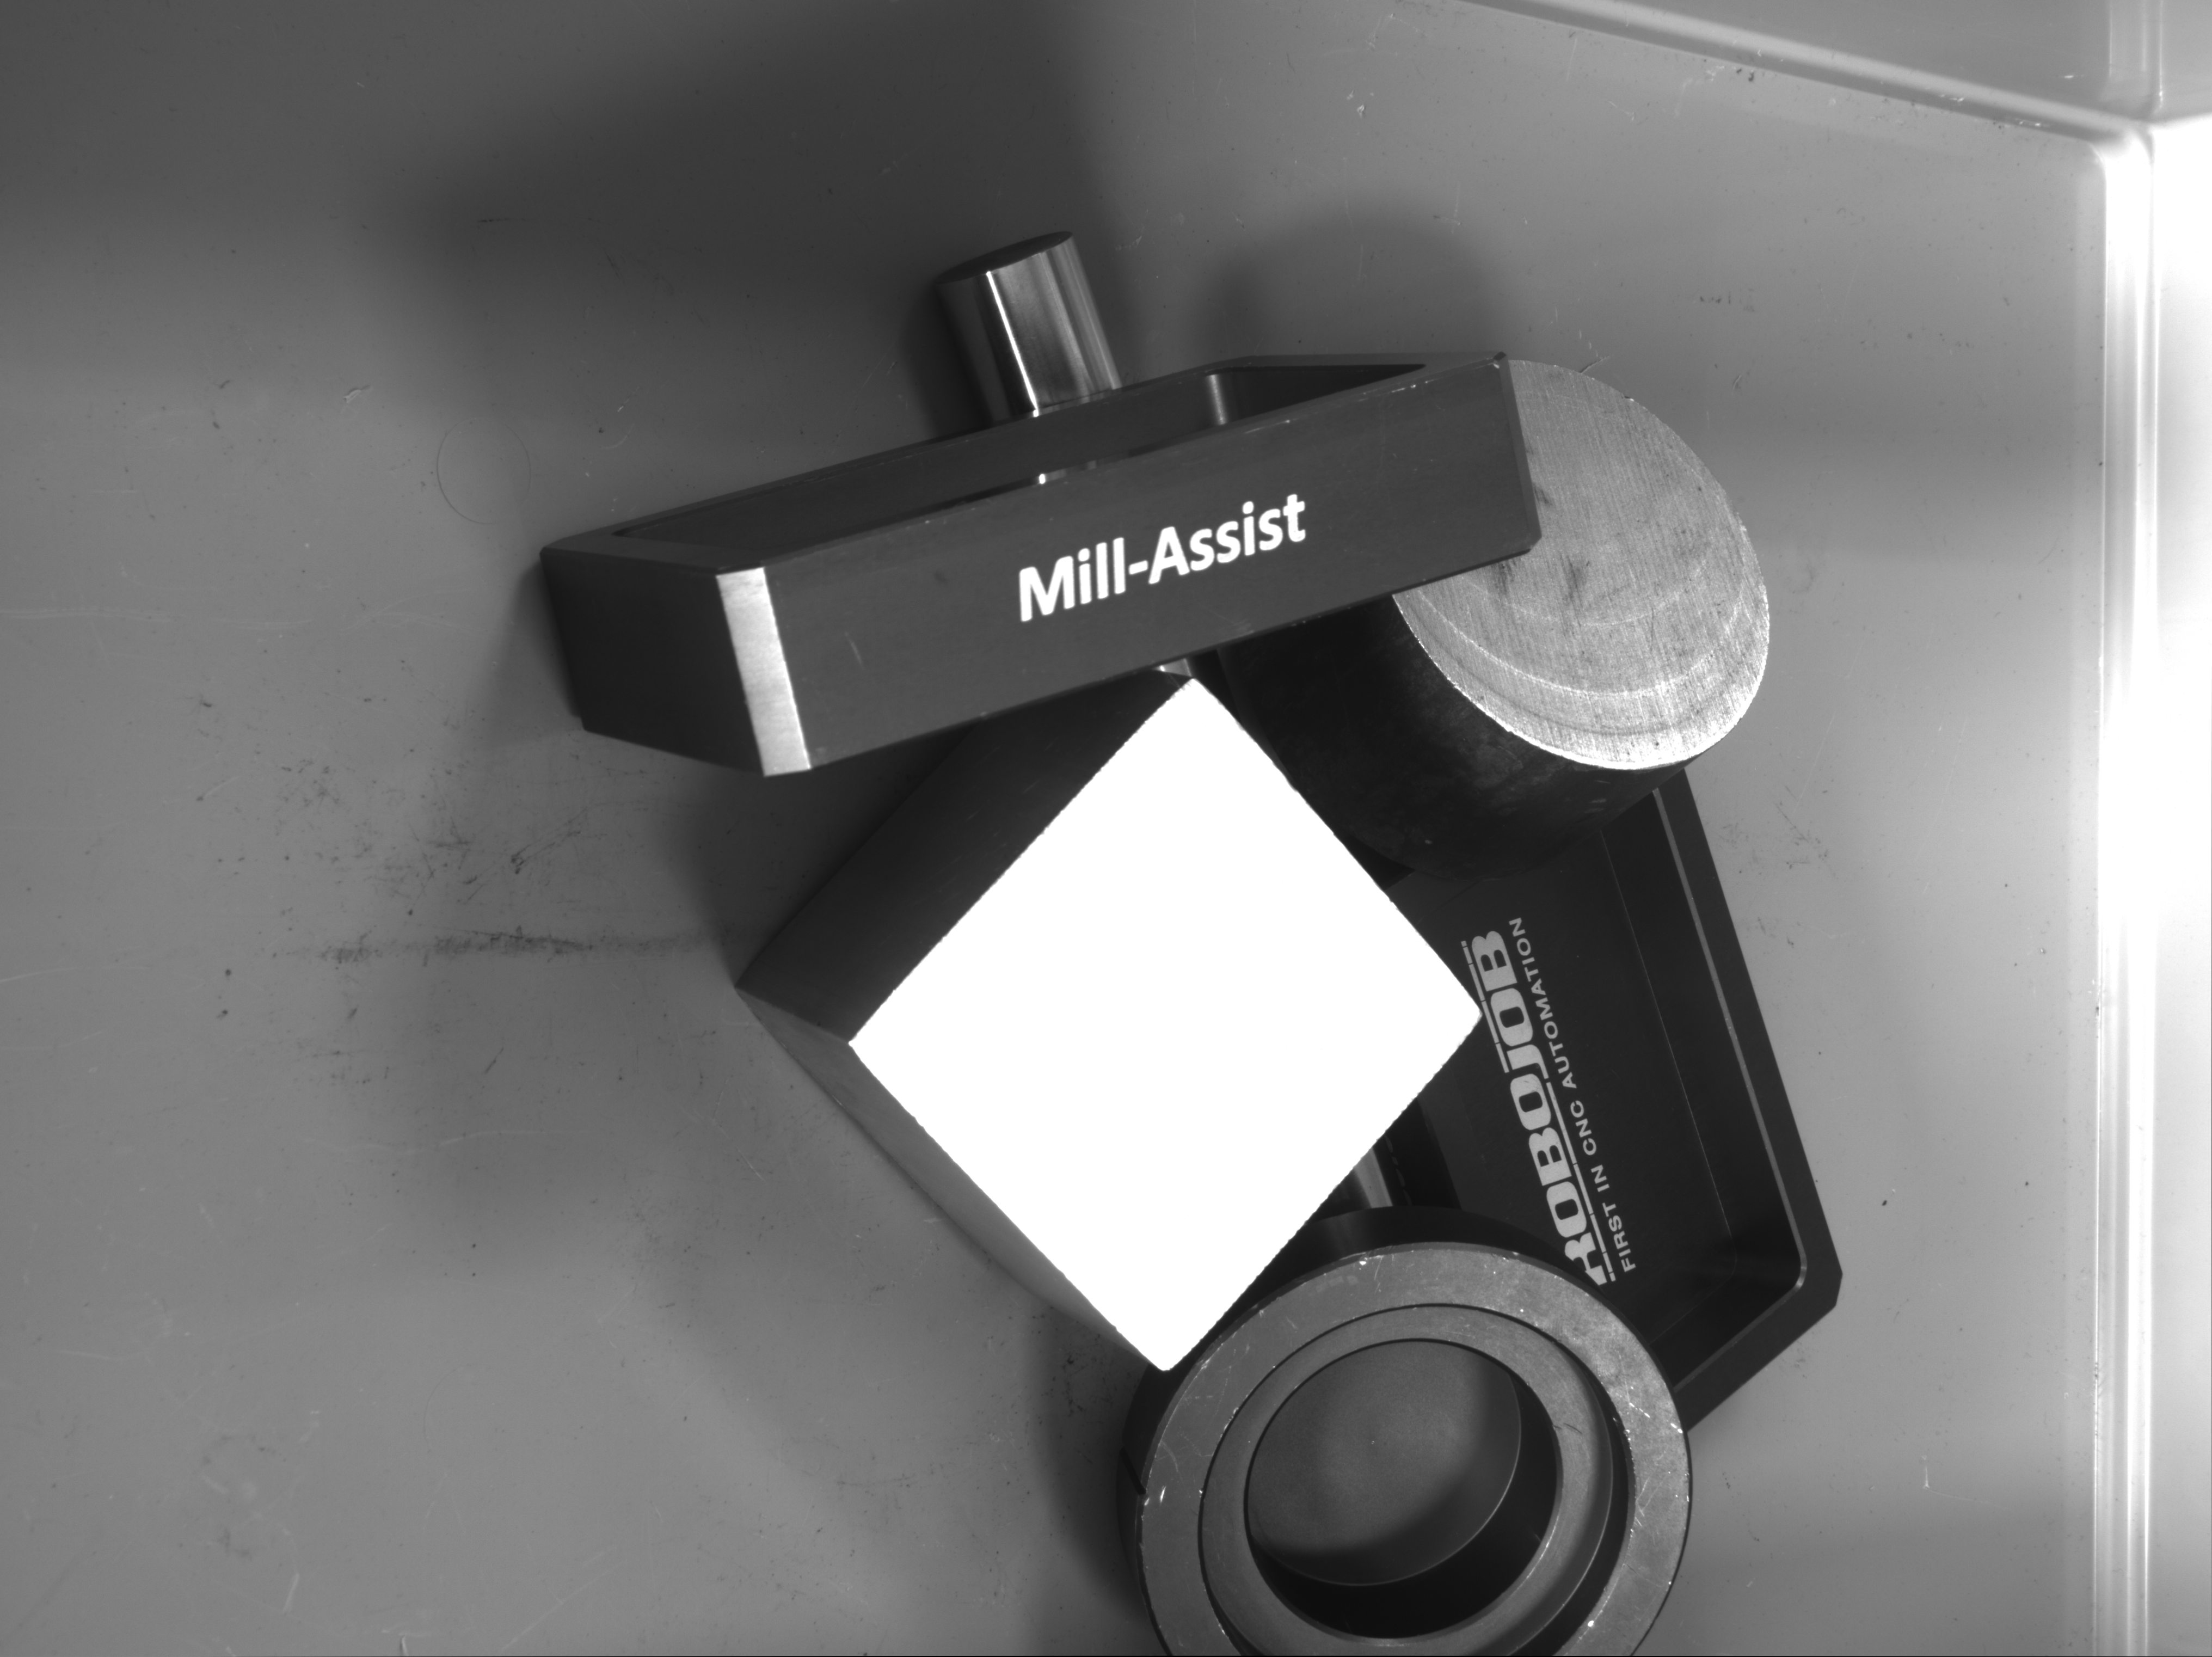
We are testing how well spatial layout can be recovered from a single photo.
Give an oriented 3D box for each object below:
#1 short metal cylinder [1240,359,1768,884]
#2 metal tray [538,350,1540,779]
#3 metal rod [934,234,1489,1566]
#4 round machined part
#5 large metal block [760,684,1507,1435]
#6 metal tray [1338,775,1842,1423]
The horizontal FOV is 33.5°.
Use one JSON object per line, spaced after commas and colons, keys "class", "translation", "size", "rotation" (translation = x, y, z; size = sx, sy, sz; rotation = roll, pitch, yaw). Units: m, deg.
{"class": "short metal cylinder", "translation": [0.071, -0.037, 0.658], "size": [0.080, 0.050, 0.080], "rotation": [12, 61, -22]}
{"class": "metal tray", "translation": [-0.011, -0.043, 0.565], "size": [0.130, 0.090, 0.030], "rotation": [-18, 103, -24]}
{"class": "metal rod", "translation": [0.032, 0.040, 0.660], "size": [0.025, 0.025, 0.300], "rotation": [-31, 109, -35]}
{"class": "round machined part", "translation": [0.050, 0.113, 0.647], "size": [0.098, 0.042, 0.098], "rotation": [-2, 103, -10]}
{"class": "large metal block", "translation": [0.005, 0.036, 0.599], "size": [0.080, 0.050, 0.080], "rotation": [-40, 116, -13]}
{"class": "metal tray", "translation": [0.087, 0.053, 0.704], "size": [0.090, 0.030, 0.130], "rotation": [-31, 109, -35]}
